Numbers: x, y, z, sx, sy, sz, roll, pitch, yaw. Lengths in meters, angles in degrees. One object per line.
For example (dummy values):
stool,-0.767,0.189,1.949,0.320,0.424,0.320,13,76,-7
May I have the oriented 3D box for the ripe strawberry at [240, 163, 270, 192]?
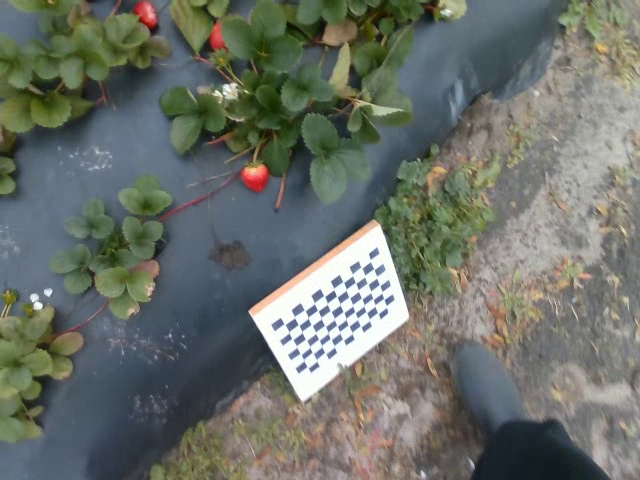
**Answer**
ripe strawberry,-0.130,-0.126,1.284,0.061,0.065,0.049,-29,33,-24
